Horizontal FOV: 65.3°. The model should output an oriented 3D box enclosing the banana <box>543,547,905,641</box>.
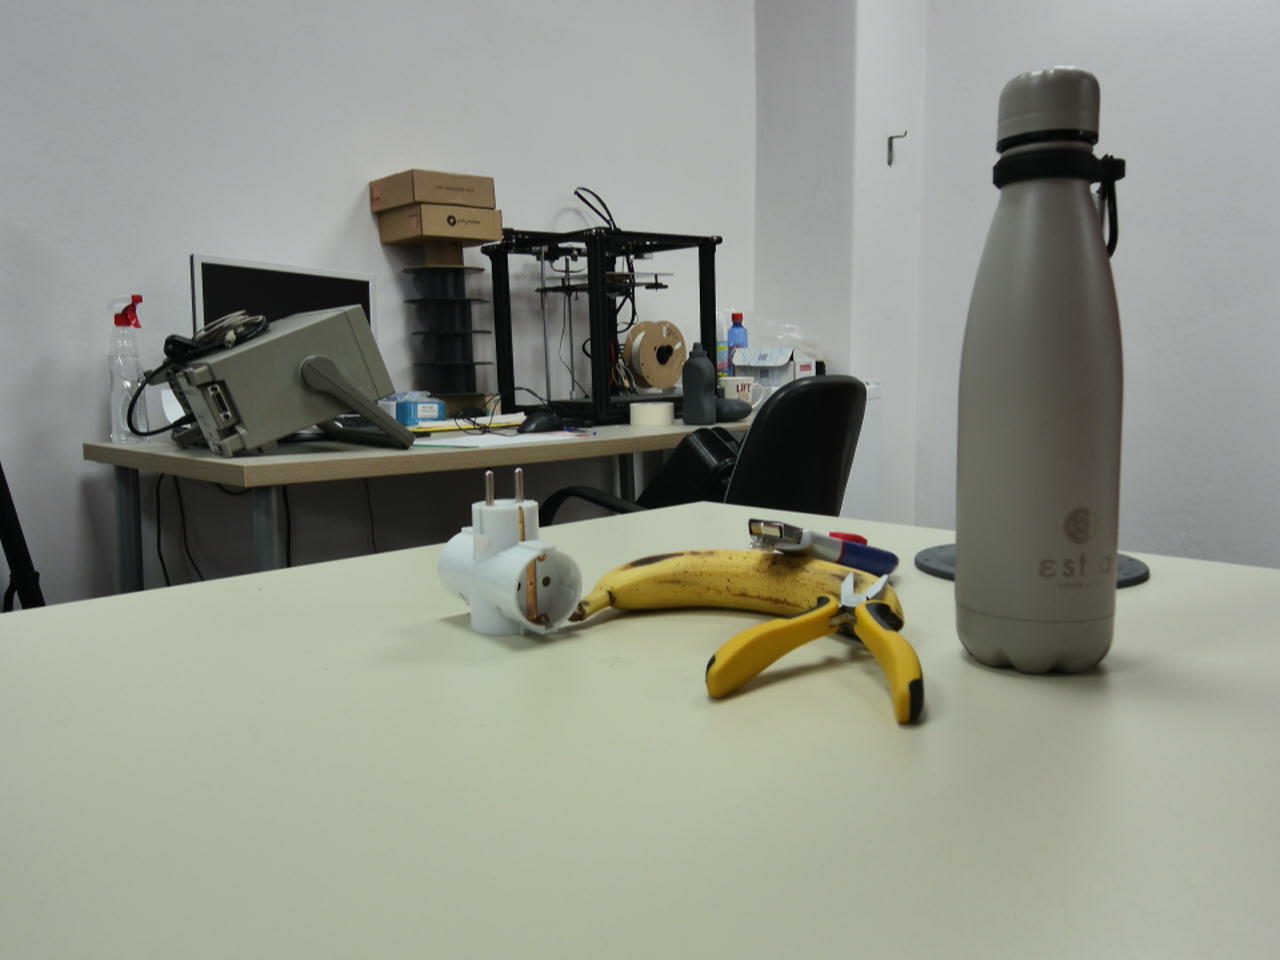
[{"bbox_3d":[0.057,0.063,0.568,0.186,0.038,0.097,3,6,20],"label":"banana"}]
